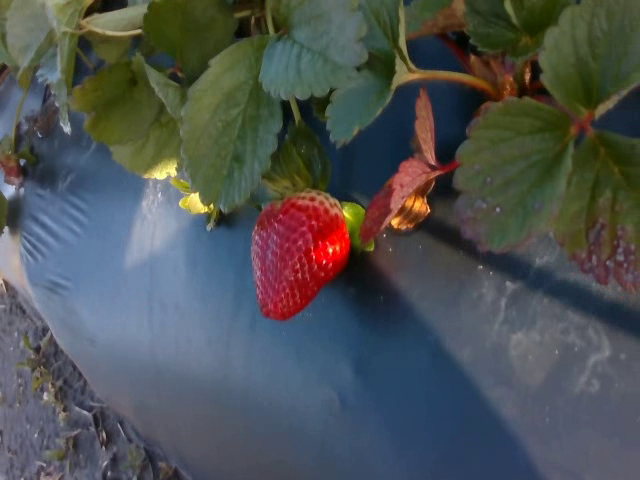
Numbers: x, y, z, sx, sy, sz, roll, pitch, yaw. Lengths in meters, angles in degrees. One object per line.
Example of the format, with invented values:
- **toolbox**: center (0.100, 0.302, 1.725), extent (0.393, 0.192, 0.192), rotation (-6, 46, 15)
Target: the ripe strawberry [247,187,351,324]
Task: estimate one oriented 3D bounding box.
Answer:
- **ripe strawberry**: center (-0.011, 0.006, 0.215), extent (0.040, 0.056, 0.041), rotation (24, -33, -9)
